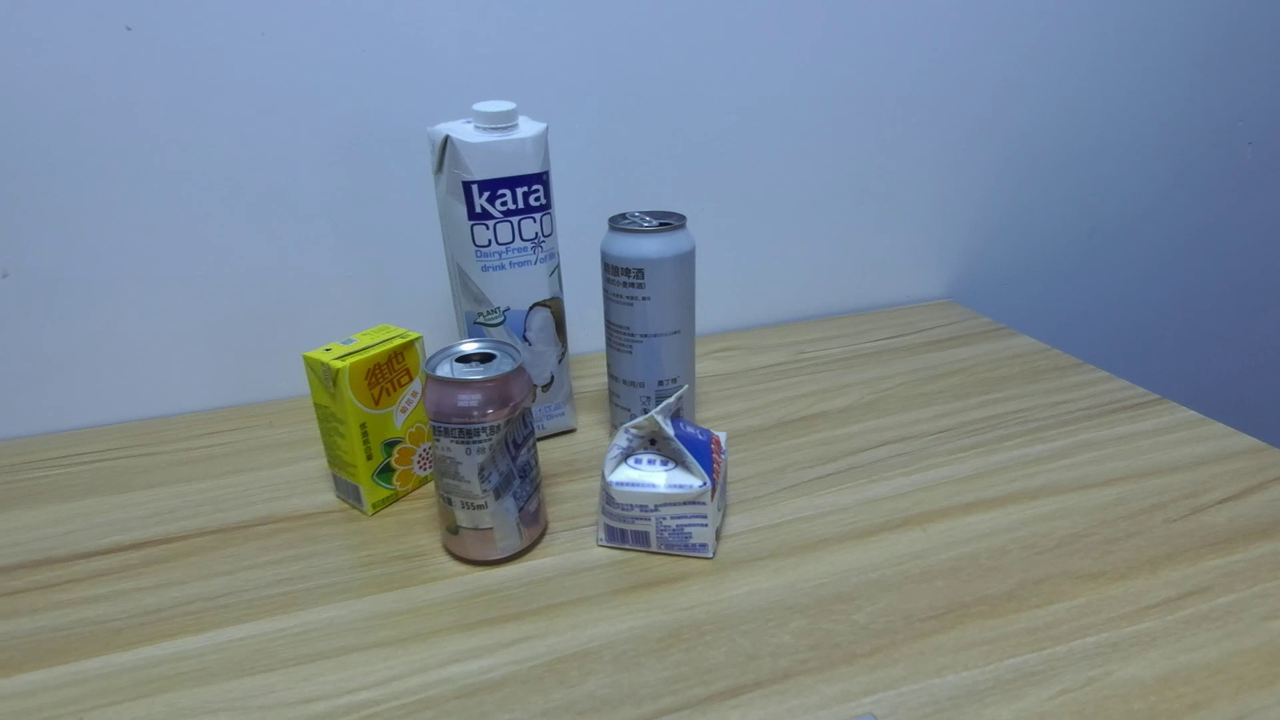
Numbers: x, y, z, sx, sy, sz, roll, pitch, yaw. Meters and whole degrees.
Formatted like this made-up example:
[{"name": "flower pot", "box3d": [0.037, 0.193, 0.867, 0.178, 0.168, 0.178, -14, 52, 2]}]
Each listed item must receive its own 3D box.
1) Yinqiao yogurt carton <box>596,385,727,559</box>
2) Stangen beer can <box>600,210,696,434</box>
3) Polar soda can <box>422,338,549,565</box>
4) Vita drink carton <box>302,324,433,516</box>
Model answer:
[{"name": "Yinqiao yogurt carton", "box3d": [0.014, 0.061, 0.432, 0.077, 0.093, 0.083, 2, 24, 12]}, {"name": "Stangen beer can", "box3d": [0.007, -0.018, 0.514, 0.067, 0.171, 0.067, -1, 21, 1]}, {"name": "Polar soda can", "box3d": [-0.092, 0.055, 0.425, 0.074, 0.122, 0.067, -23, 31, -38]}, {"name": "Vita drink carton", "box3d": [-0.178, 0.039, 0.479, 0.043, 0.109, 0.067, 15, 29, 32]}]
